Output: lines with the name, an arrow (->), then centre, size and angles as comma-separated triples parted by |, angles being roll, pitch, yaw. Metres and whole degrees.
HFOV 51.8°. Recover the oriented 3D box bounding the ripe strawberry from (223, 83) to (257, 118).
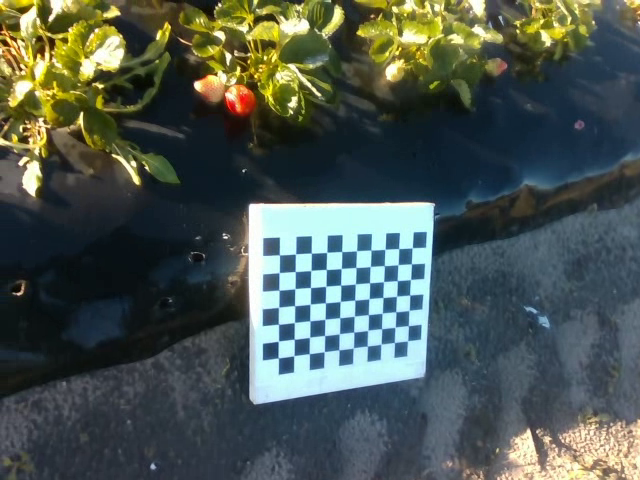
ripe strawberry -> -0.091, -0.162, 0.760 | 0.040, 0.038, 0.056 | -14, 19, 2
